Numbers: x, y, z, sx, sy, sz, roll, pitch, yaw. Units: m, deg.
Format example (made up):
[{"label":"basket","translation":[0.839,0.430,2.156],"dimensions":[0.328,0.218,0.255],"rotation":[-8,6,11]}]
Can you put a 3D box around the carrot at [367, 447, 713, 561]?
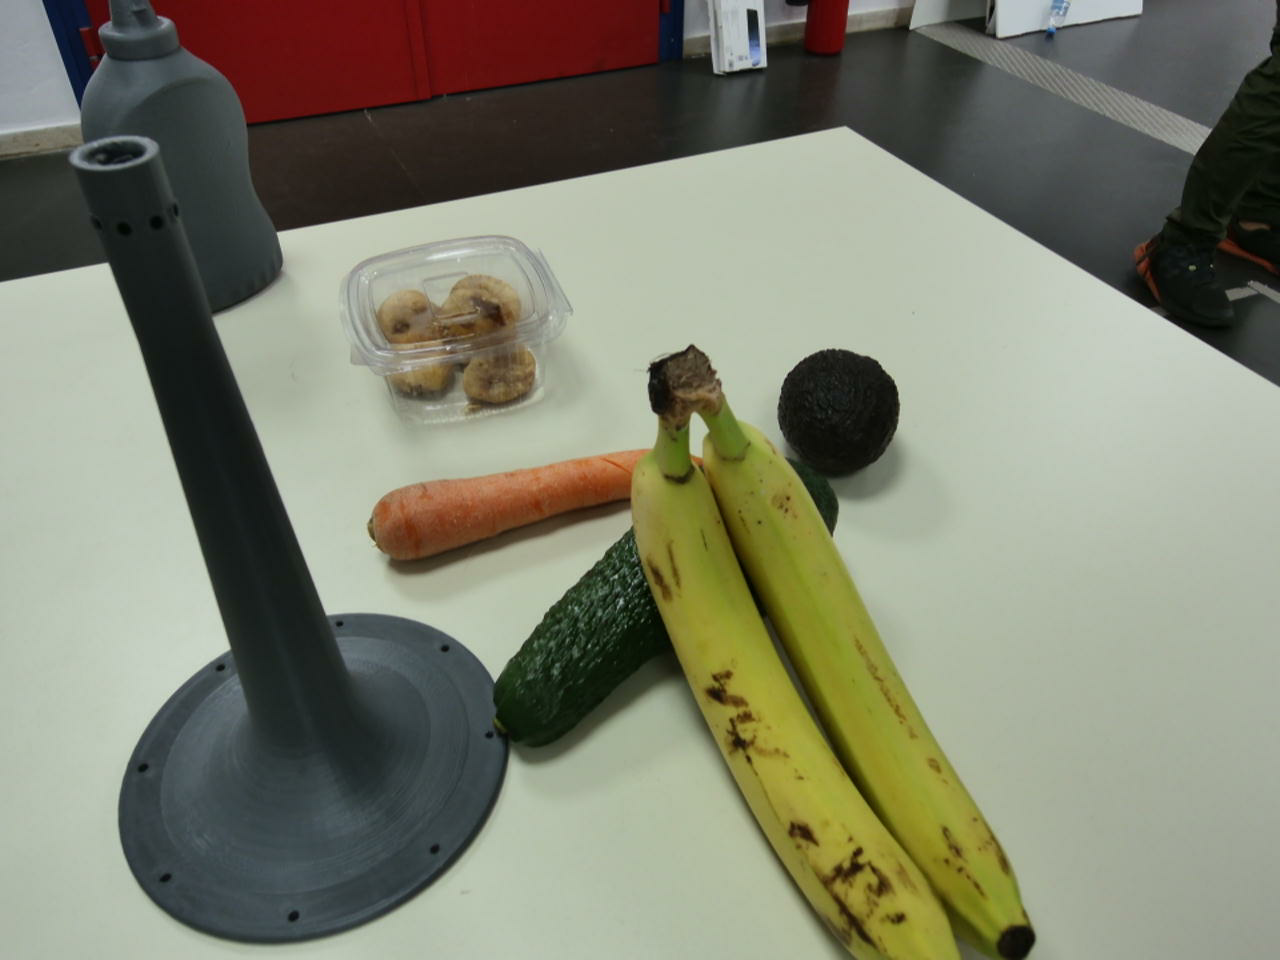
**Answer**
[{"label":"carrot","translation":[-0.048,0.002,0.541],"dimensions":[0.196,0.041,0.039],"rotation":[-16,42,-20]}]
